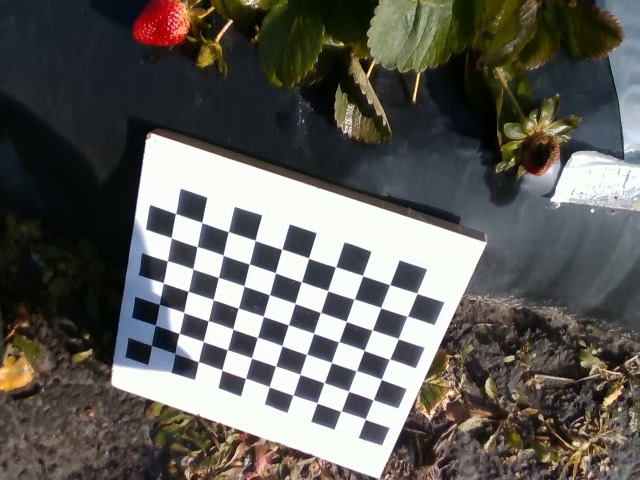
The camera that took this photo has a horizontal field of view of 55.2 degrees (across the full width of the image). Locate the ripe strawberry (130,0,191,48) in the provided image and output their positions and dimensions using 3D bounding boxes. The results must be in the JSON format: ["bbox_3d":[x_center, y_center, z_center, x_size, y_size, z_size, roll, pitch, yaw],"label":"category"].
[{"bbox_3d":[-0.130,-0.177,0.491,0.053,0.043,0.038,-36,16,-21],"label":"ripe strawberry"}]
